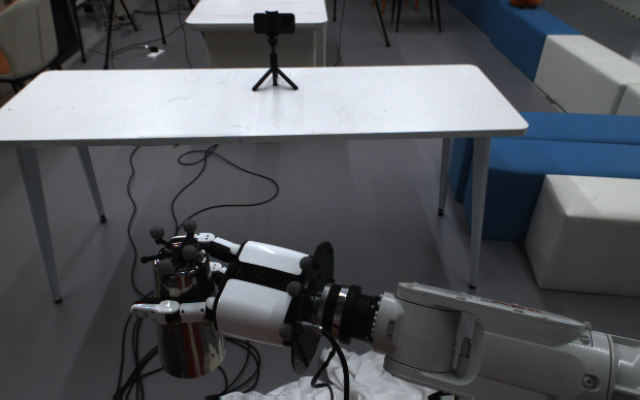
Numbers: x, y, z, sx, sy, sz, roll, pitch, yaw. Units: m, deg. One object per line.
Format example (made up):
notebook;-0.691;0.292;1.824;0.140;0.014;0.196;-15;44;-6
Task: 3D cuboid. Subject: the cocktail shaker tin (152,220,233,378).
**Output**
cocktail shaker tin;-0.172;0.139;0.635;0.093;0.170;0.093;3;33;-2
